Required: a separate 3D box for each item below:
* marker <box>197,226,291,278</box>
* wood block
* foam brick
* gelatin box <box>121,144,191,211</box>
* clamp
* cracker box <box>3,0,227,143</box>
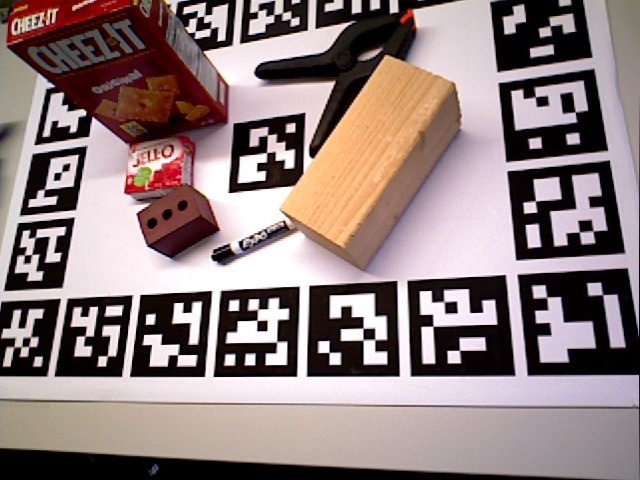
[{"bbox_3d":[-0.092,0.015,0.643,0.122,0.019,0.019,-24,69,11],"label":"marker"},{"bbox_3d":[0.055,-0.071,0.586,0.090,0.091,0.205,32,83,27],"label":"wood block"},{"bbox_3d":[-0.181,-0.011,0.666,0.078,0.051,0.052,-29,68,8],"label":"foam brick"},{"bbox_3d":[-0.216,-0.081,0.713,0.090,0.030,0.073,-6,73,17],"label":"gelatin box"},{"bbox_3d":[0.027,-0.203,0.662,0.203,0.037,0.164,-34,67,6],"label":"clamp"},{"bbox_3d":[-0.229,-0.209,0.648,0.165,0.214,0.071,-8,69,13],"label":"cracker box"}]
